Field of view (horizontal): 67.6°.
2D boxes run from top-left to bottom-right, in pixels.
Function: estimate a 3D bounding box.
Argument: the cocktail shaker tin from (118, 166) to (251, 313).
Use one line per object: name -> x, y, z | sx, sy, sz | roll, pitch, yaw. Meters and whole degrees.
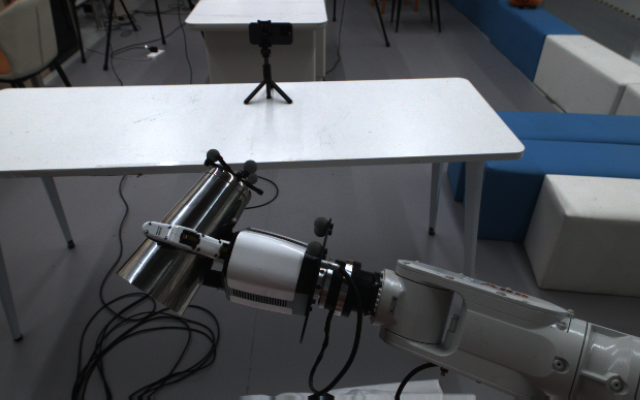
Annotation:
cocktail shaker tin -> -0.159, 0.040, 0.597 | 0.093, 0.093, 0.170 | 22, 67, 26
